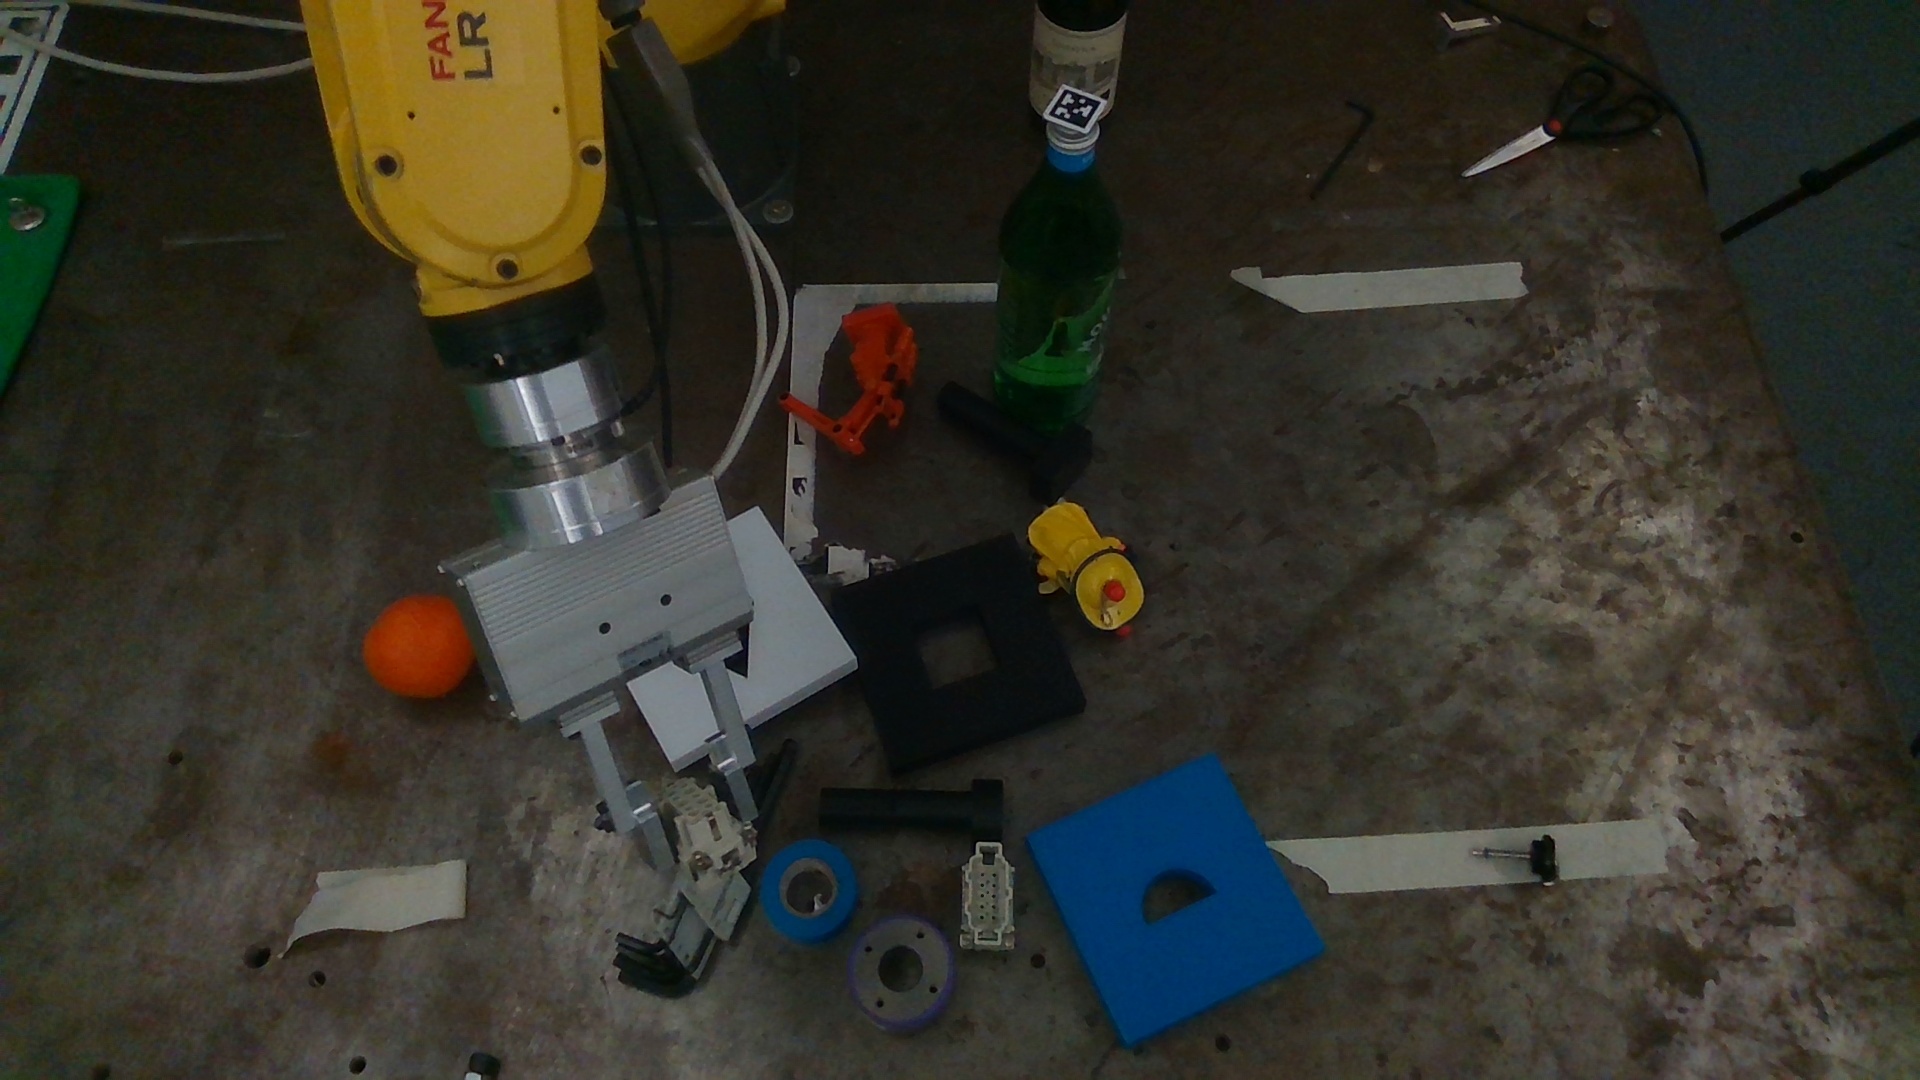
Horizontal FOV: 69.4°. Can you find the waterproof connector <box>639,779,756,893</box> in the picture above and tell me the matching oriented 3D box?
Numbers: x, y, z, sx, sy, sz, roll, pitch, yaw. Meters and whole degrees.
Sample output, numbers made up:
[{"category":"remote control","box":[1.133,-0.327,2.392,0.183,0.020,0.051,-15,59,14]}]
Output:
[{"category":"waterproof connector","box":[-0.134,0.147,0.705,0.036,0.038,0.069,-33,28,-26]}]
